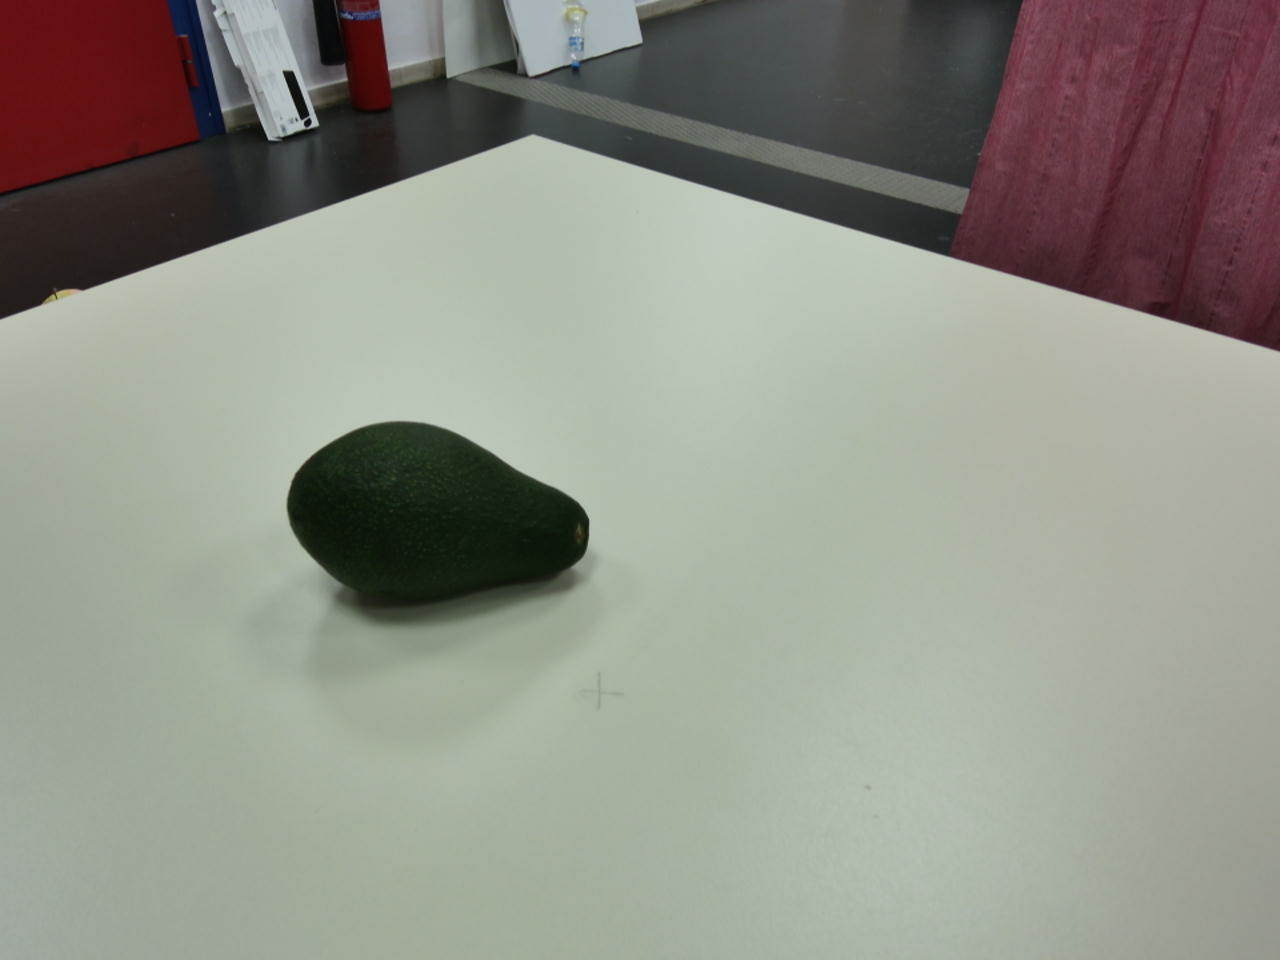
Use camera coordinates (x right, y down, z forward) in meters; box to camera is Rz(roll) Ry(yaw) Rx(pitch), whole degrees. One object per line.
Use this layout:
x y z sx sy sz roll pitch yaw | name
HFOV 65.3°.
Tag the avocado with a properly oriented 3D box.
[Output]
-0.079 0.014 0.391 0.110 0.071 0.072 10 36 11 | avocado
